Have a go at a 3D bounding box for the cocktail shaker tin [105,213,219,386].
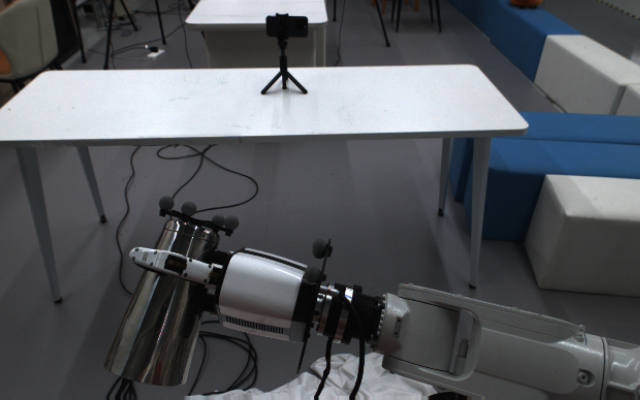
[{"bbox_3d":[-0.170,0.112,0.560,0.093,0.093,0.170,13,80,16],"label":"cocktail shaker tin"}]
